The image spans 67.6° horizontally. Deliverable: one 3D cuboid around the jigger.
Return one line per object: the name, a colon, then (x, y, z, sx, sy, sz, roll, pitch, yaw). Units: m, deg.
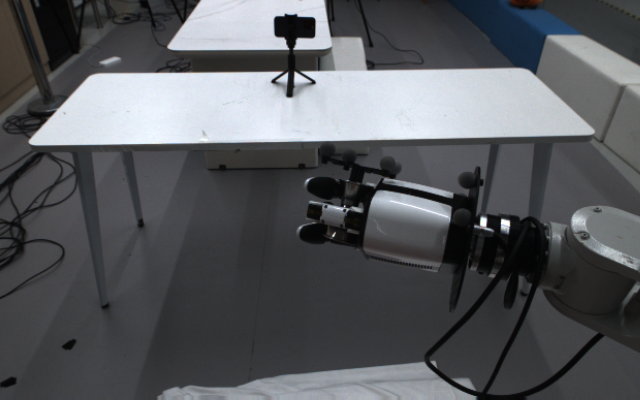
jigger: (0.035, 0.013, 0.552, 0.043, 0.071, 0.043, 14, 1, 0)
